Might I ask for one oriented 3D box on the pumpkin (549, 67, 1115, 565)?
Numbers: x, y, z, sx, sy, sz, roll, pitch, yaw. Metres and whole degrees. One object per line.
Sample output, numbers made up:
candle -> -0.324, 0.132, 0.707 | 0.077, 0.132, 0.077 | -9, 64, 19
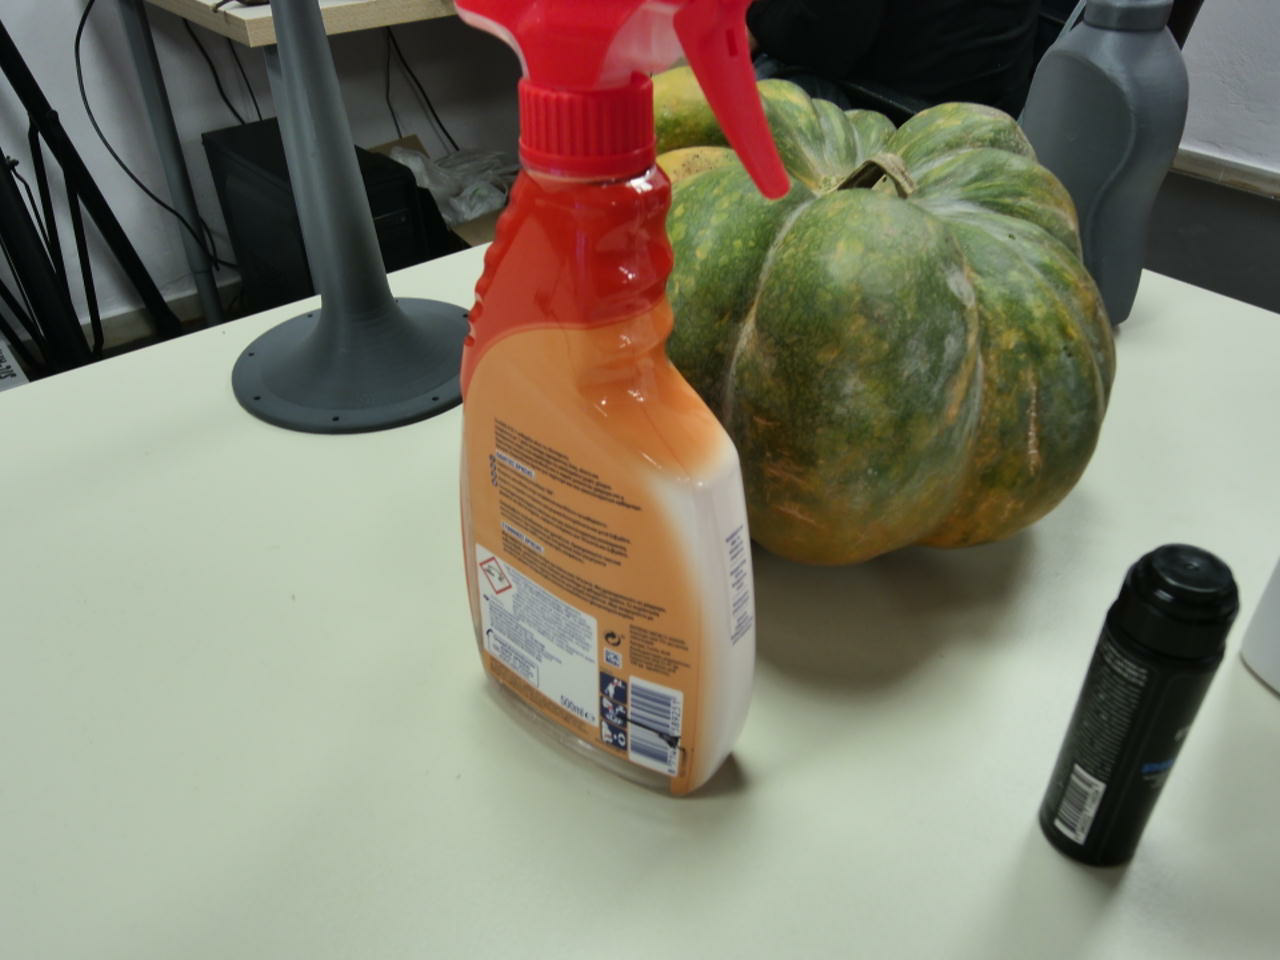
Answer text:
pumpkin -> 0.082, -0.076, 0.437 | 0.237, 0.173, 0.270 | 0, 35, 0
